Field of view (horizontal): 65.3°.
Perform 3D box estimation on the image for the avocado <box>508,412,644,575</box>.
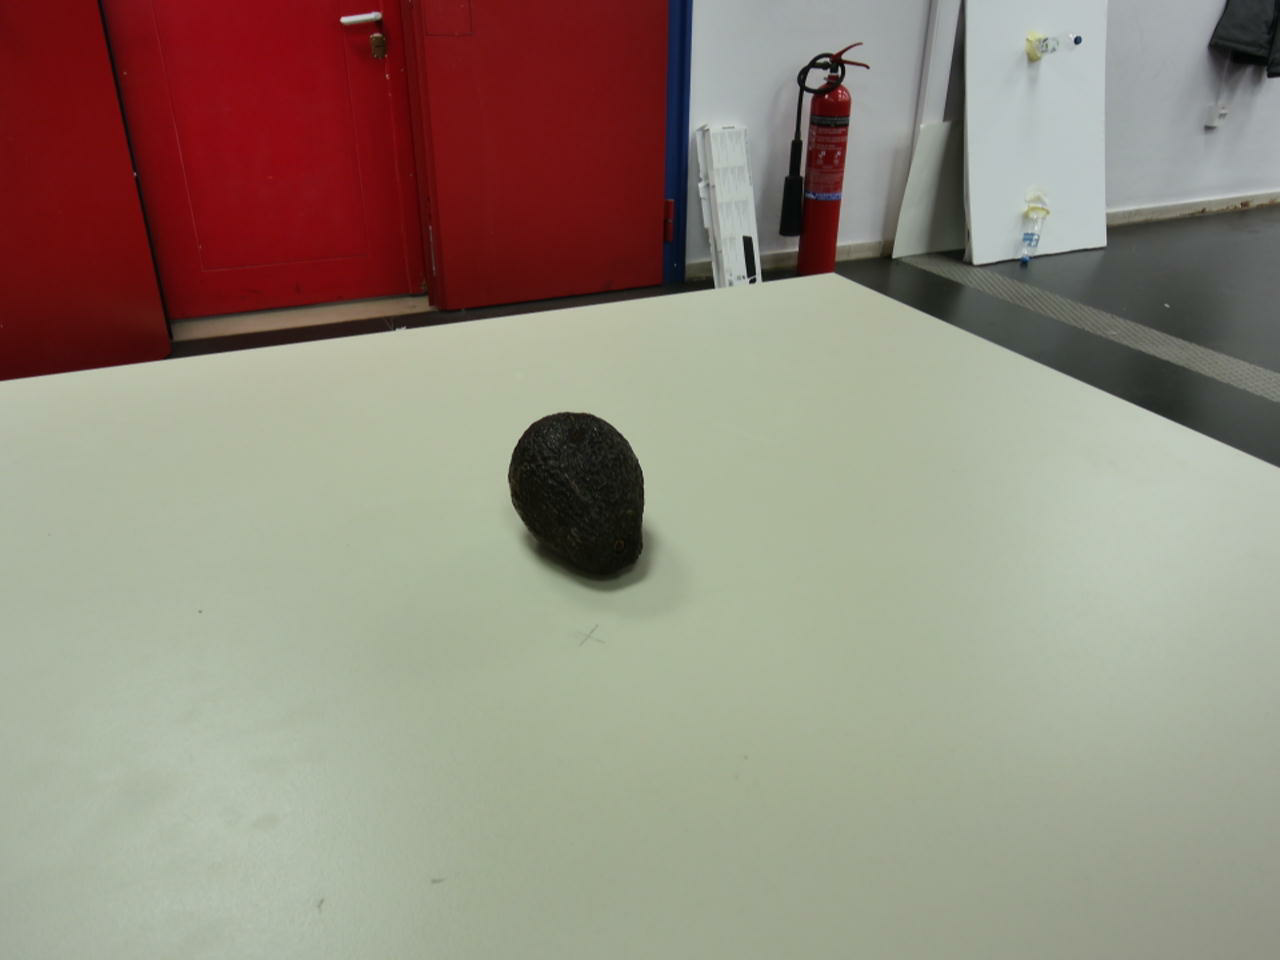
[{"bbox_3d":[-0.033,0.003,0.510,0.070,0.069,0.090,1,25,0],"label":"avocado"}]
